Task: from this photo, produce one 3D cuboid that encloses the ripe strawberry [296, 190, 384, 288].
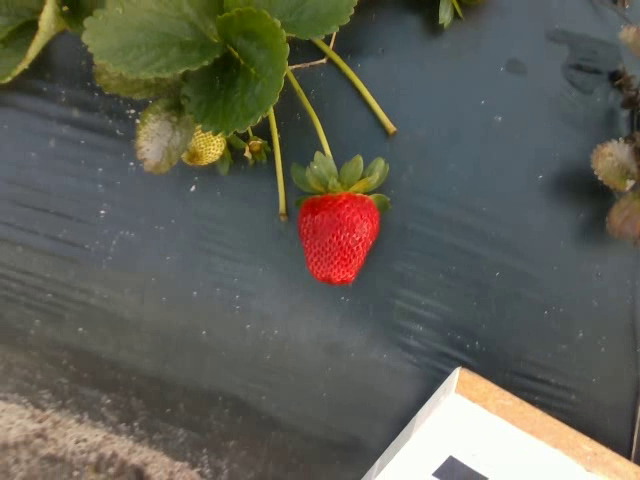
[{"bbox_3d":[0.008,0.000,0.279,0.046,0.054,0.042,-13,-39,33],"label":"ripe strawberry"}]
